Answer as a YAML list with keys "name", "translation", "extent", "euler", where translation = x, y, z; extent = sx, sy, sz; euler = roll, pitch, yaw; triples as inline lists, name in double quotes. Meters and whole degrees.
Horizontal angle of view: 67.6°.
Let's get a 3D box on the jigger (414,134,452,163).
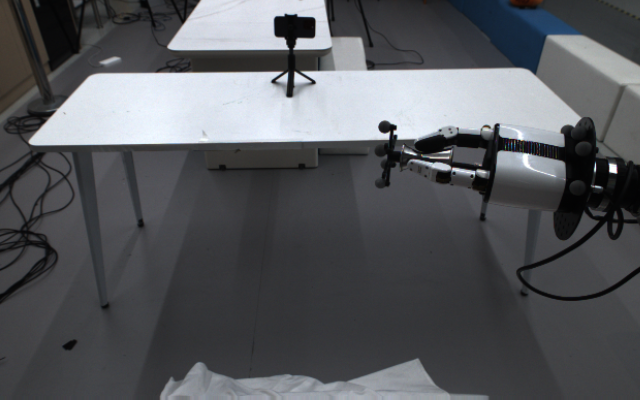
- name: "jigger"
  translation: [0.153, -0.059, 0.669]
  extent: [0.071, 0.043, 0.043]
  euler: [8, 35, 16]
